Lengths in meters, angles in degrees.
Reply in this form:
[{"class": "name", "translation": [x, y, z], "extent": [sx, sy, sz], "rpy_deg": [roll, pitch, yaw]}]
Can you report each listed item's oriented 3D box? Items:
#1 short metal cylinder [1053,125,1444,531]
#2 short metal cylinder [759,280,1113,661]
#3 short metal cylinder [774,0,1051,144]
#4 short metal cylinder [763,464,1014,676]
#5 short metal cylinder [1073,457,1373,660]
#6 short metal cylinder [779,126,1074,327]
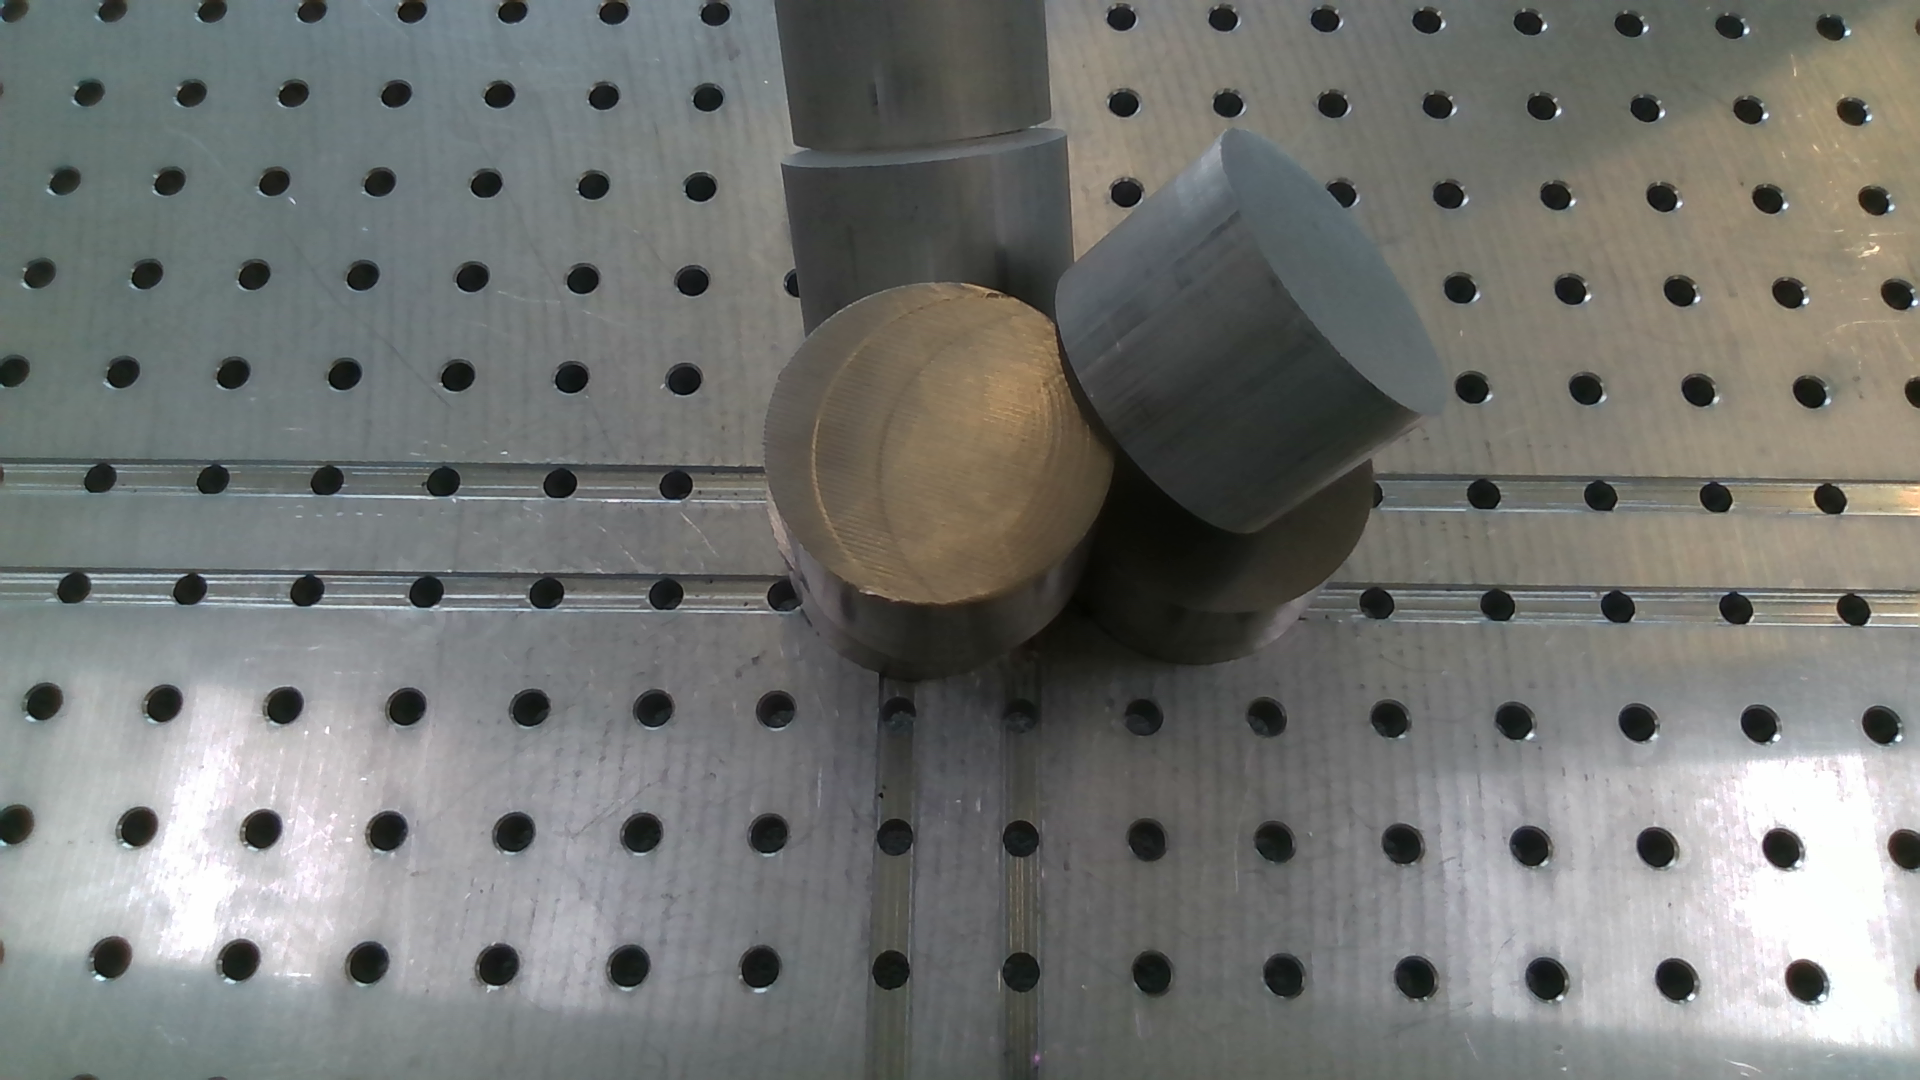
[{"class": "short metal cylinder", "translation": [0.068, -0.049, 0.325], "extent": [0.050, 0.080, 0.080], "rpy_deg": [-37, 68, 33]}, {"class": "short metal cylinder", "translation": [-0.005, -0.015, 0.335], "extent": [0.080, 0.050, 0.080], "rpy_deg": [0, 70, 0]}, {"class": "short metal cylinder", "translation": [-0.014, -0.151, 0.415], "extent": [0.080, 0.080, 0.050], "rpy_deg": [-7, 112, -2]}, {"class": "short metal cylinder", "translation": [-0.012, -0.007, 0.386], "extent": [0.080, 0.050, 0.080], "rpy_deg": [0, 70, 0]}, {"class": "short metal cylinder", "translation": [0.069, -0.011, 0.388], "extent": [0.080, 0.050, 0.080], "rpy_deg": [0, 70, 0]}, {"class": "short metal cylinder", "translation": [-0.008, -0.087, 0.392], "extent": [0.080, 0.080, 0.050], "rpy_deg": [-7, 112, -2]}]
